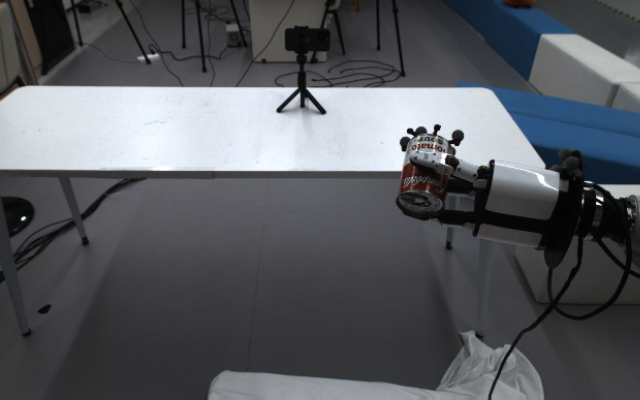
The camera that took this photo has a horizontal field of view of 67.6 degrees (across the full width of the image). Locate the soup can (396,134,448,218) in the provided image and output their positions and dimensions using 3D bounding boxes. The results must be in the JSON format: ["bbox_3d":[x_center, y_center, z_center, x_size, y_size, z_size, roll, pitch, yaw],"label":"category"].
[{"bbox_3d":[0.151,-0.038,0.692,0.067,0.067,0.101,9,61,10],"label":"soup can"}]
